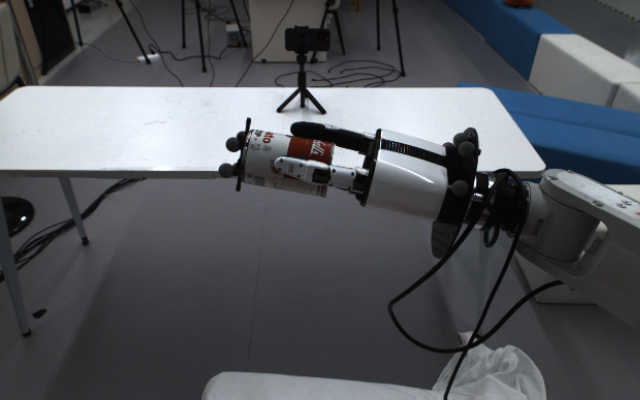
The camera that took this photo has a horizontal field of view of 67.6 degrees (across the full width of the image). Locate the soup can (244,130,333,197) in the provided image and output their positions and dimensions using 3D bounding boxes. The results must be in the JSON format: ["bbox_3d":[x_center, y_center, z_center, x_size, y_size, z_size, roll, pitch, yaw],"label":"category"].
[{"bbox_3d":[-0.035,-0.044,0.583,0.101,0.067,0.067,10,35,1],"label":"soup can"}]
